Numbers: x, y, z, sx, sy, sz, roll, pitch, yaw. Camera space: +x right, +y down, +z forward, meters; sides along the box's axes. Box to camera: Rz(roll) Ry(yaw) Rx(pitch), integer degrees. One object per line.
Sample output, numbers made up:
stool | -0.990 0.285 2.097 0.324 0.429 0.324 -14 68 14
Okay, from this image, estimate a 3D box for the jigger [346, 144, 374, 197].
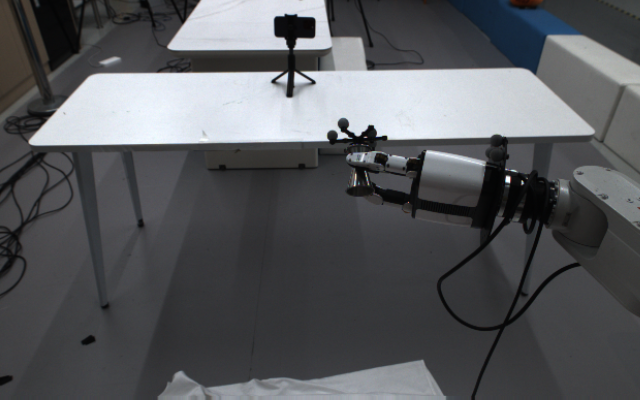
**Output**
jigger | 0.058 -0.046 0.720 0.043 0.043 0.071 1 70 -2
